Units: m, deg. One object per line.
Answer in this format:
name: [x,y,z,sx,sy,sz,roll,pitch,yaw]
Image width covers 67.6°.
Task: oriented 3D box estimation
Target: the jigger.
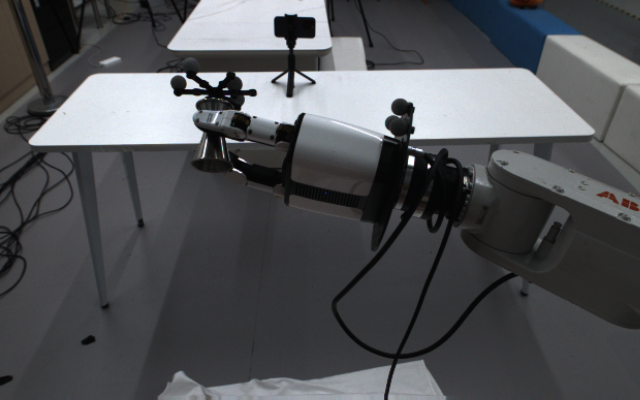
jigger: [-0.111,-0.069,0.511,0.043,0.043,0.071,0,75,-3]
